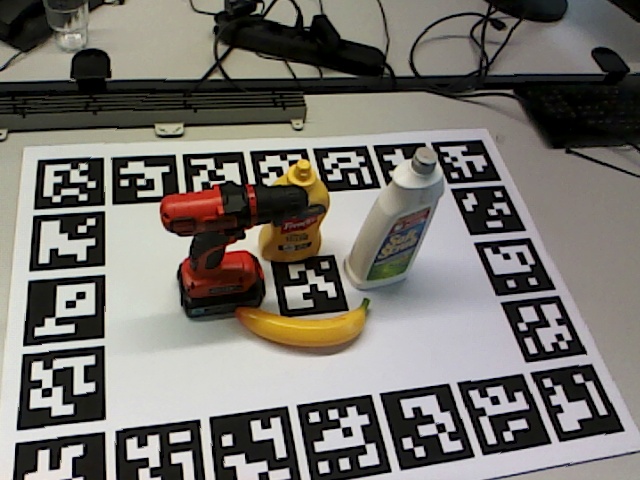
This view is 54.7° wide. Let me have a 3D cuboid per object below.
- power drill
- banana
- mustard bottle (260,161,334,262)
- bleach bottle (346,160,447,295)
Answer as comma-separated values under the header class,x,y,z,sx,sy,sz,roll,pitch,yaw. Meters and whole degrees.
class,x,y,z,sx,sy,sz,roll,pitch,yaw
power drill,-0.114,0.003,0.819,0.184,0.187,0.057,-5,49,-17
banana,-0.009,0.117,0.871,0.197,0.039,0.074,-3,59,-10
mustard bottle,-0.030,-0.042,0.891,0.096,0.191,0.058,-3,55,-14
bleach bottle,0.110,-0.017,0.871,0.102,0.250,0.068,-11,58,-18
